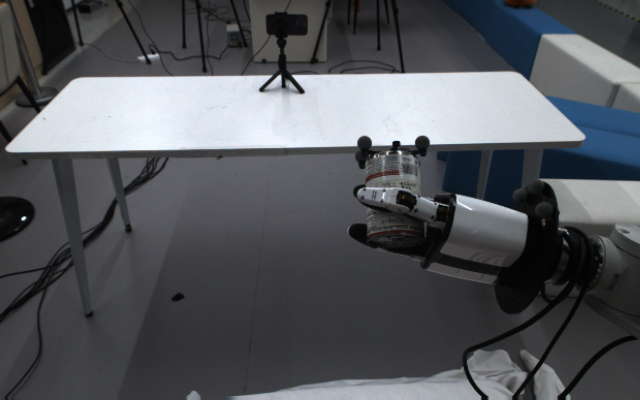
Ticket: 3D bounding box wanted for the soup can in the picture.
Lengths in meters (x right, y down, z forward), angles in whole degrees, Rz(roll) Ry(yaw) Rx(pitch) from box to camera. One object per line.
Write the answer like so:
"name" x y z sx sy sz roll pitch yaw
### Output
"soup can" 0.089 0.001 0.573 0.067 0.067 0.101 1 72 -2
